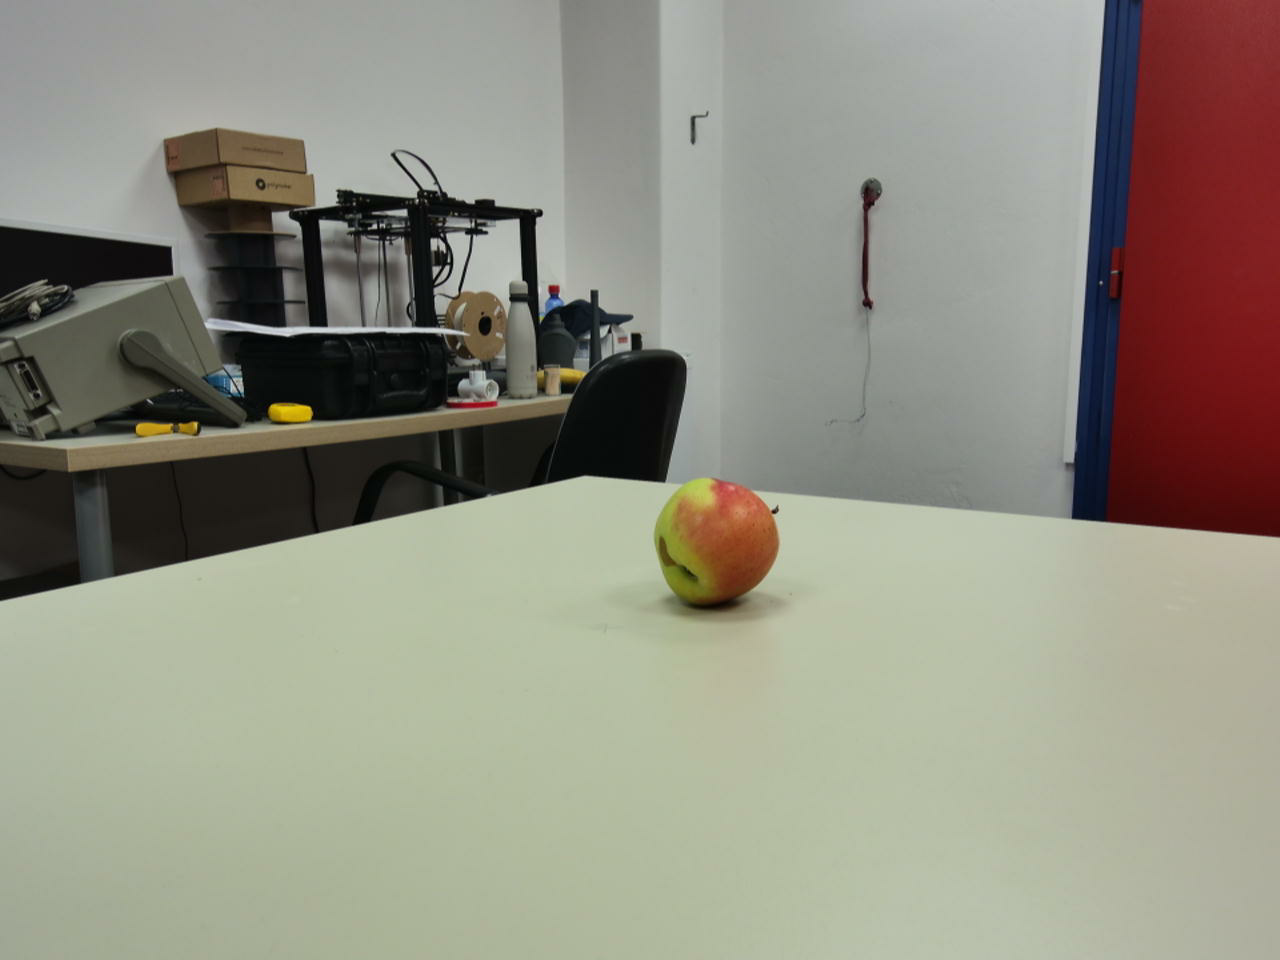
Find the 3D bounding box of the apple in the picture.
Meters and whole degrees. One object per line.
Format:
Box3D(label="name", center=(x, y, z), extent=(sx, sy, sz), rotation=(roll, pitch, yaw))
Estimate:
Box3D(label="apple", center=(0.045, 0.037, 0.604), extent=(0.075, 0.074, 0.075), rotation=(1, 7, 15))
